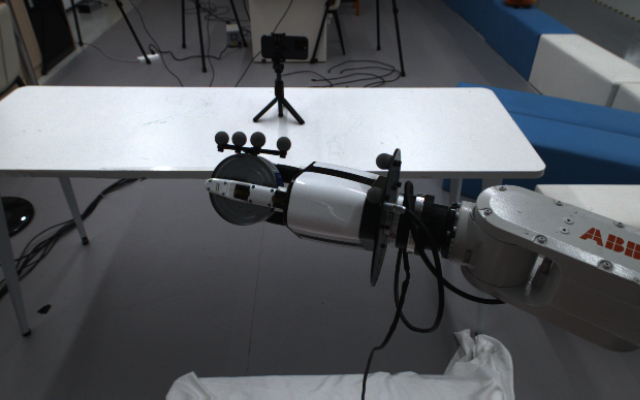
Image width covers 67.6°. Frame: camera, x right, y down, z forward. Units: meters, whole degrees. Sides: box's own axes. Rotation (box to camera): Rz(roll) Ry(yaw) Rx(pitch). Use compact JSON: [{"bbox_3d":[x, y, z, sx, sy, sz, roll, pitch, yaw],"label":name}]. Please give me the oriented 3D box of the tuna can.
[{"bbox_3d":[-0.087,-0.013,0.584,0.085,0.085,0.034,11,2,13],"label":"tuna can"}]
